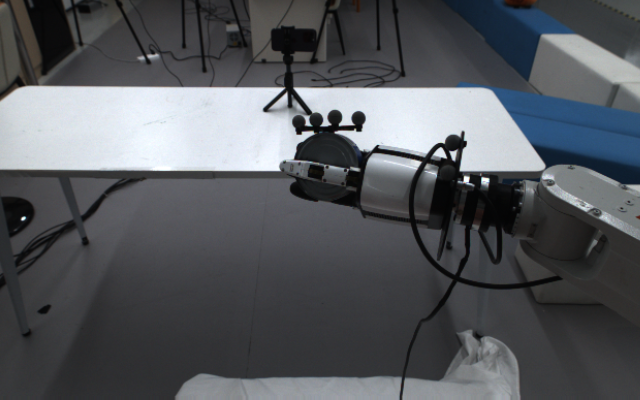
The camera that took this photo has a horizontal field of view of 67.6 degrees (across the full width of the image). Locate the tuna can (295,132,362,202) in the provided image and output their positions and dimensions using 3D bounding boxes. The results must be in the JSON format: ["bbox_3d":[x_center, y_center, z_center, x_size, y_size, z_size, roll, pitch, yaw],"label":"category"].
[{"bbox_3d":[0.013,-0.044,0.619,0.085,0.085,0.034,15,10,18],"label":"tuna can"}]
